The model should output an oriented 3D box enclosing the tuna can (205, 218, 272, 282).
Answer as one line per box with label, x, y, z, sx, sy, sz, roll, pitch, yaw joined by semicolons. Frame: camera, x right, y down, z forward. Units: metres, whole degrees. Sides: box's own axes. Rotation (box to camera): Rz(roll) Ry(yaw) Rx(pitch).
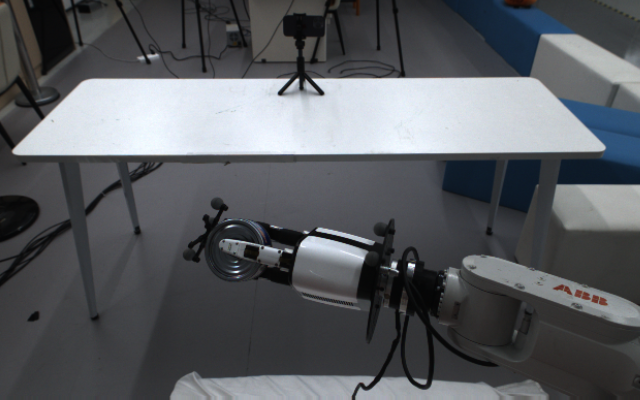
tuna can;-0.107;0.071;0.646;0.085;0.085;0.034;9;-3;10
